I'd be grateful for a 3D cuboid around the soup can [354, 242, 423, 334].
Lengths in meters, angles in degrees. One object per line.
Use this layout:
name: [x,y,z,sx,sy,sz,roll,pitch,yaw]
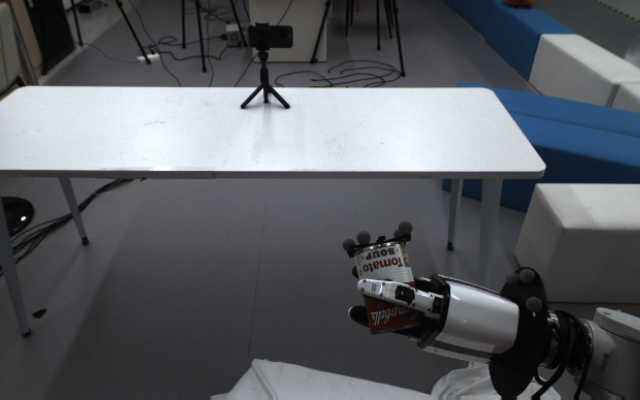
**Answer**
soup can: [0.087,0.109,0.598,0.067,0.067,0.101,-8,74,-14]
